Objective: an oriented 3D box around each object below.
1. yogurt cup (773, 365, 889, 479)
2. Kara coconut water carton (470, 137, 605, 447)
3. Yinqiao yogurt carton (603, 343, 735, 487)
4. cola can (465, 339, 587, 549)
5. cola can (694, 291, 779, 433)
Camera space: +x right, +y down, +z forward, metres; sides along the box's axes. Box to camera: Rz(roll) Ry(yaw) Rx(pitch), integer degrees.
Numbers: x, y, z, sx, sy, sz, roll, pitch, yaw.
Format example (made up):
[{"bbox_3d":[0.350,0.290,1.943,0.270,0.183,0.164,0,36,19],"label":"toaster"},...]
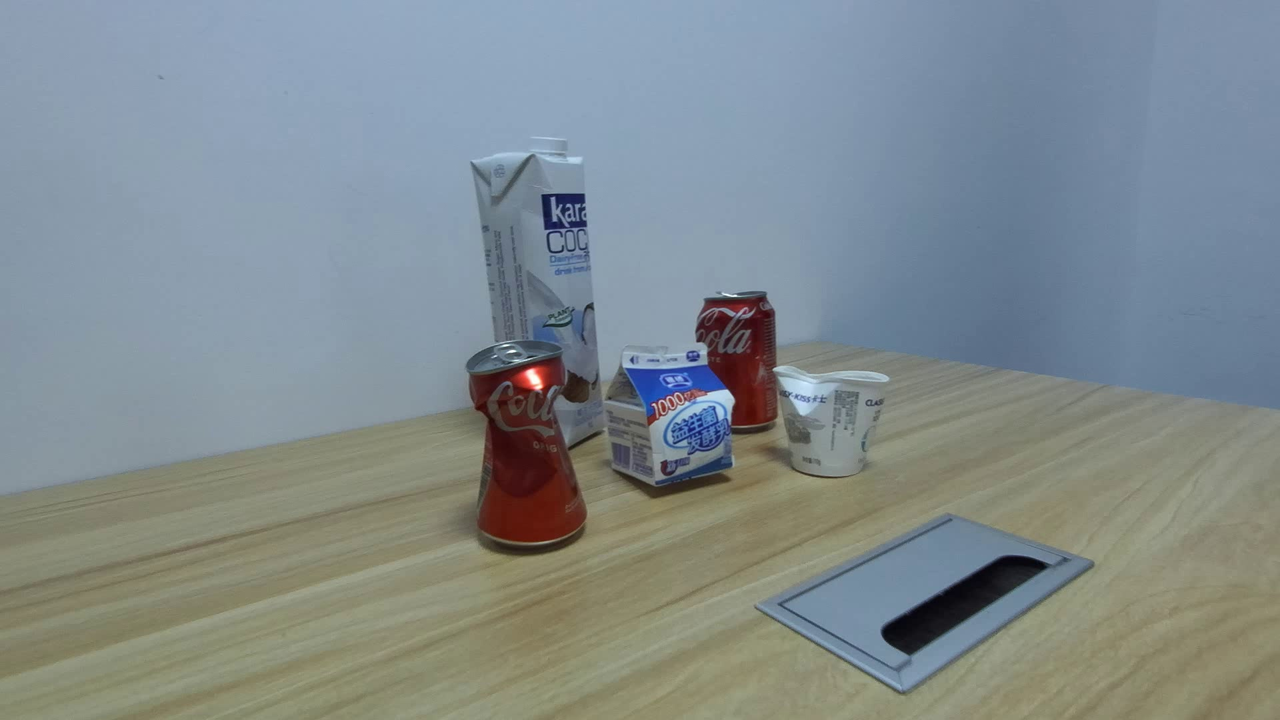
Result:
[{"bbox_3d":[0.134,0.041,0.504,0.075,0.071,0.054,0,13,8],"label":"yogurt cup"},{"bbox_3d":[-0.080,-0.052,0.576,0.075,0.245,0.077,2,13,29],"label":"Kara coconut water carton"},{"bbox_3d":[0.023,0.034,0.495,0.075,0.097,0.080,-8,6,-27],"label":"Yinqiao yogurt carton"},{"bbox_3d":[-0.067,0.048,0.412,0.065,0.112,0.069,-2,11,6],"label":"cola can"},{"bbox_3d":[0.085,-0.001,0.610,0.072,0.117,0.065,-12,18,-34],"label":"cola can"}]
